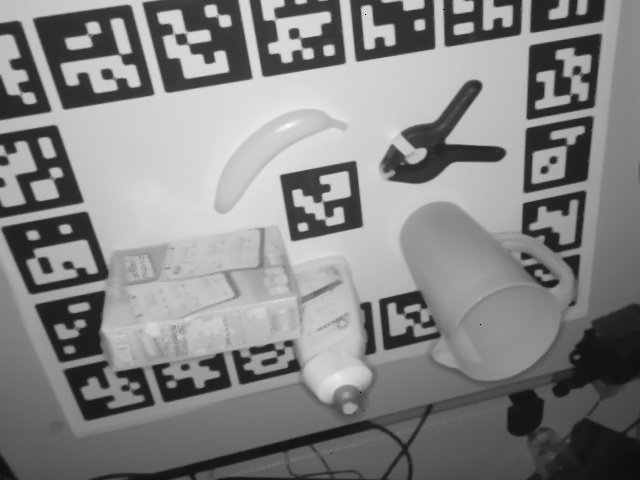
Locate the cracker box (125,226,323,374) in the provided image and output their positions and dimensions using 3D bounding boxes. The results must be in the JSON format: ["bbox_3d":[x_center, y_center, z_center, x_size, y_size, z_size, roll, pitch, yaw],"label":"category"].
[{"bbox_3d":[-0.116,0.066,0.827,0.215,0.164,0.071,-9,124,-9],"label":"cracker box"}]

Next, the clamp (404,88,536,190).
[{"bbox_3d":[0.187,-0.112,0.886,0.165,0.037,0.121,-23,124,3],"label":"clamp"}]

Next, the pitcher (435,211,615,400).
[{"bbox_3d":[0.232,0.061,0.850,0.188,0.243,0.133,-24,123,6],"label":"pitcher"}]

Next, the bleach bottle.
[{"bbox_3d":[0.048,0.117,0.862,0.103,0.251,0.067,-10,123,-7],"label":"bleach bottle"}]

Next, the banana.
[{"bbox_3d":[-0.033,-0.099,0.851,0.196,0.039,0.074,-39,121,10],"label":"banana"}]
